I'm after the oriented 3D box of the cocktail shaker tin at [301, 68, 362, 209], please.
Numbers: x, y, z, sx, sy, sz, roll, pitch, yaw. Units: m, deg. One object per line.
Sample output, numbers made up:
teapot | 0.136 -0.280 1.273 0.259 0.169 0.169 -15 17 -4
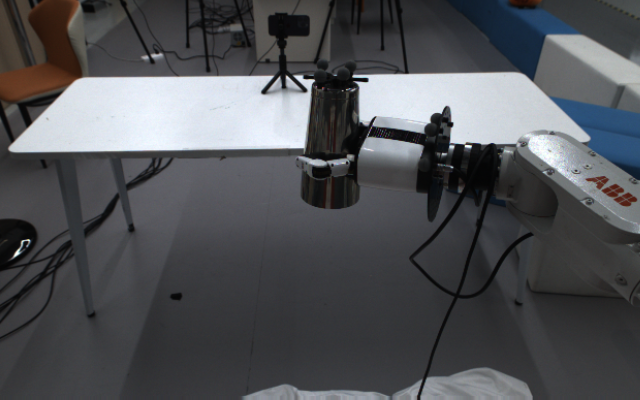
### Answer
cocktail shaker tin | 0.020 -0.084 0.703 0.093 0.170 0.093 2 28 -1
